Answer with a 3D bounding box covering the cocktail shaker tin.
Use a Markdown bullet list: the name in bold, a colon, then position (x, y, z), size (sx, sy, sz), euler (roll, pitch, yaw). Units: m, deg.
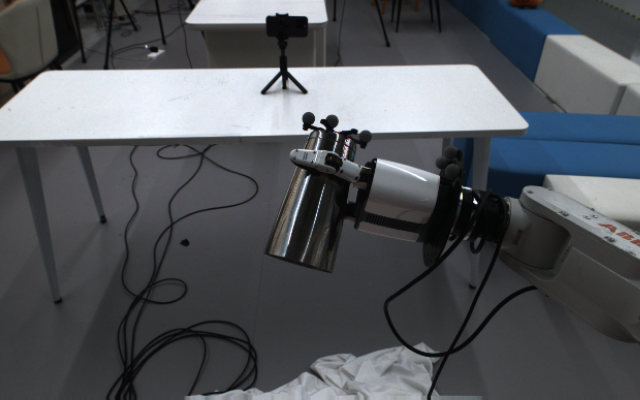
- **cocktail shaker tin**: position (-0.002, -0.002, 0.630), size (0.093, 0.093, 0.170), euler (13, 79, 15)
